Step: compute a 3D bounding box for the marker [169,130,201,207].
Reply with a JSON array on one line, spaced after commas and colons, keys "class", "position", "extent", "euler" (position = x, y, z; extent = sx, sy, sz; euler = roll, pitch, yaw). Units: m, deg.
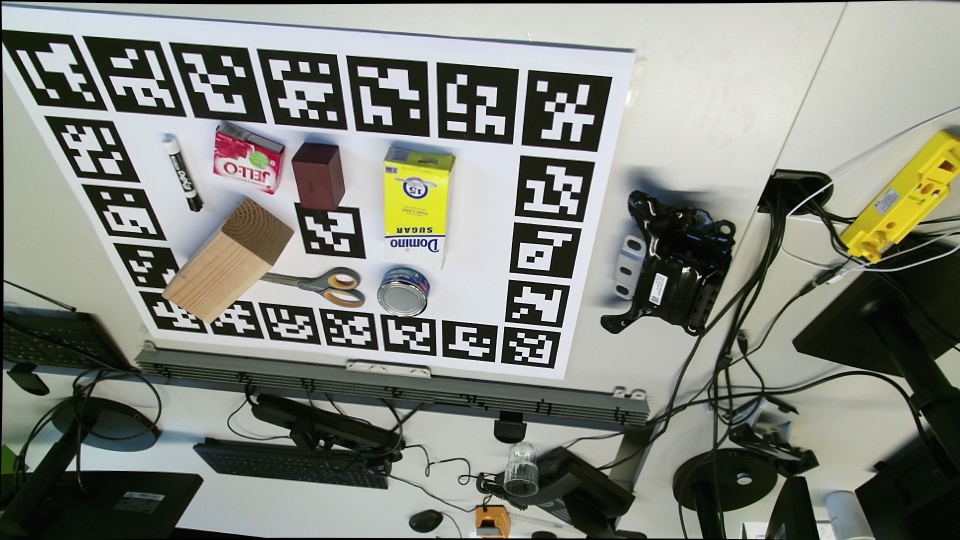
[{"class": "marker", "position": [-0.443, -0.150, 0.807], "extent": [0.020, 0.019, 0.121], "euler": [6, 126, 1]}]

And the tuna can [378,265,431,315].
[{"class": "tuna can", "position": [-0.126, 0.034, 0.907], "extent": [0.086, 0.033, 0.086], "euler": [3, 128, 4]}]

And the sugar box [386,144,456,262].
[{"class": "sugar box", "position": [-0.091, -0.095, 0.800], "extent": [0.093, 0.045, 0.176], "euler": [9, 128, 0]}]

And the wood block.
[{"class": "wood block", "position": [-0.415, -0.022, 0.865], "extent": [0.206, 0.090, 0.090], "euler": [-34, 118, 29]}]

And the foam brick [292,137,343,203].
[{"class": "foam brick", "position": [-0.230, -0.143, 0.766], "extent": [0.053, 0.051, 0.078], "euler": [7, 128, 0]}]

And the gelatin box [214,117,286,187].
[{"class": "gelatin box", "position": [-0.332, -0.169, 0.775], "extent": [0.090, 0.030, 0.073], "euler": [20, 127, -10]}]

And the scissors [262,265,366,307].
[{"class": "scissors", "position": [-0.299, 0.017, 0.927], "extent": [0.203, 0.016, 0.088], "euler": [10, 128, -5]}]
